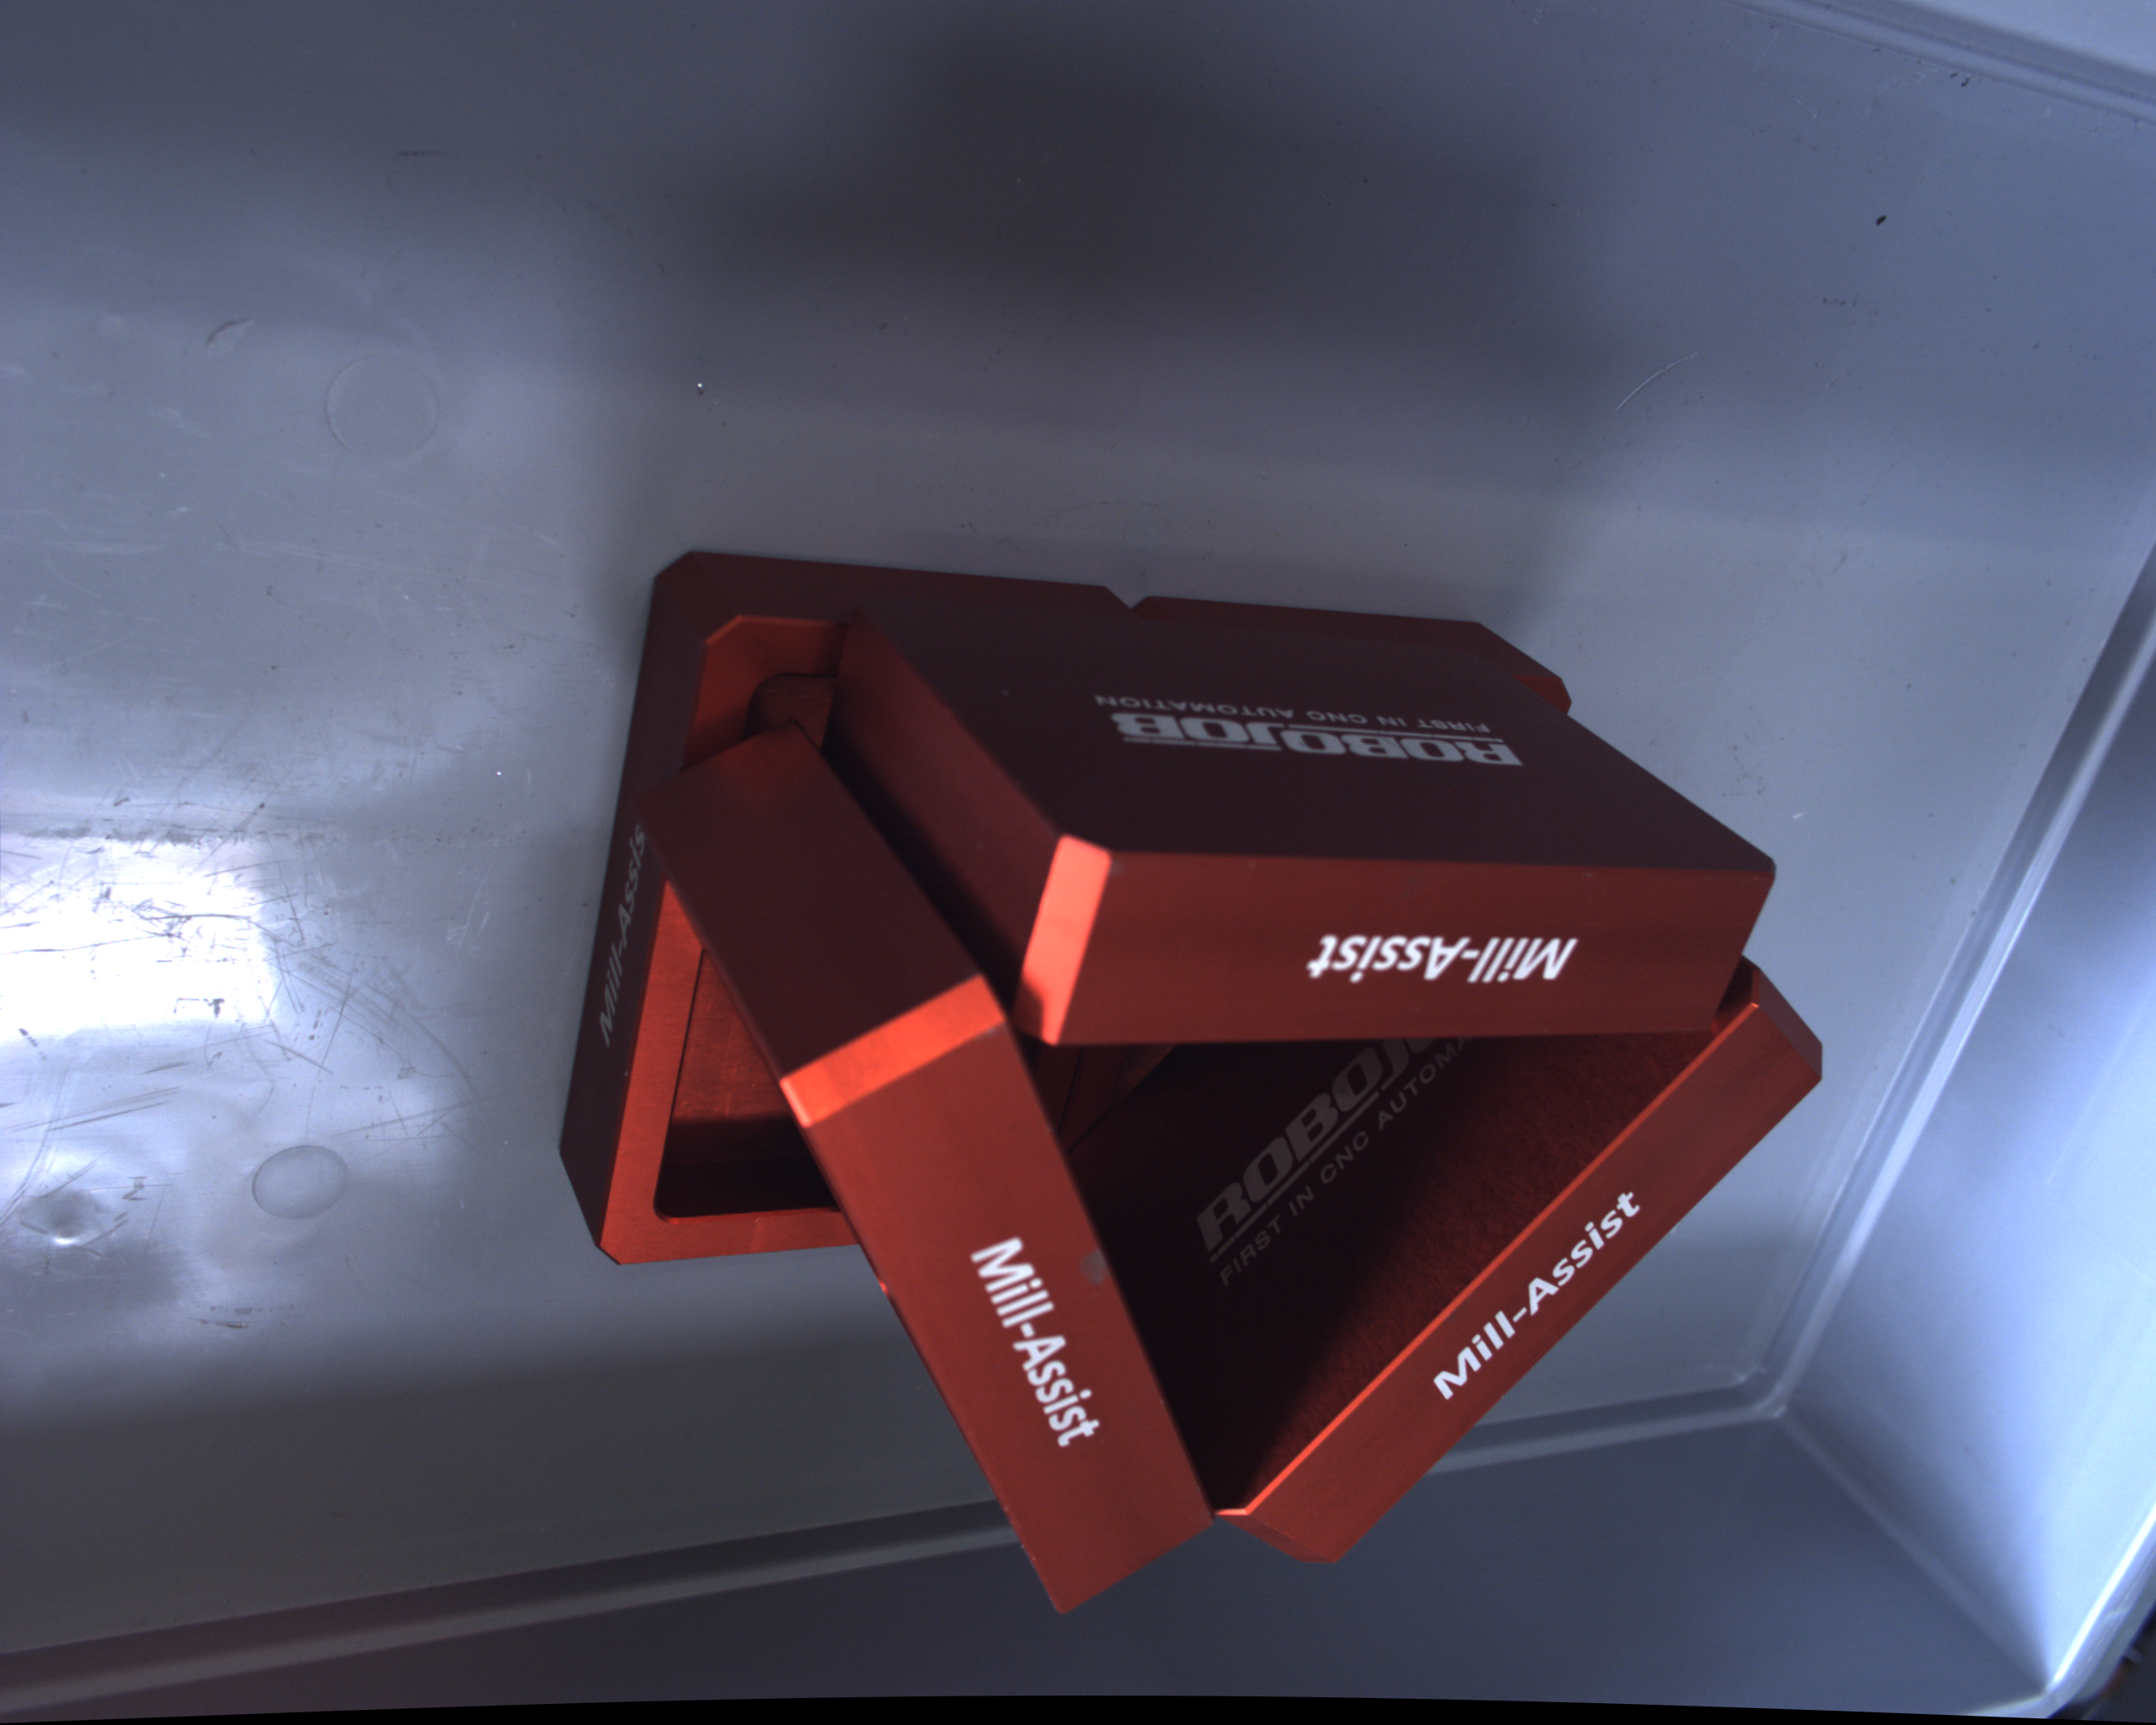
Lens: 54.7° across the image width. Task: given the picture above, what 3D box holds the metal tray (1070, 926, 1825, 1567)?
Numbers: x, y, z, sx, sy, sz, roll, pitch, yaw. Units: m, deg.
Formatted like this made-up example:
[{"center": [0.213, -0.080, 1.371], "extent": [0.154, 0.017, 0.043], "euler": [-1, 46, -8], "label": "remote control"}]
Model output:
[{"center": [0.060, 0.053, 0.390], "extent": [0.130, 0.090, 0.030], "euler": [-46, 129, 4], "label": "metal tray"}]

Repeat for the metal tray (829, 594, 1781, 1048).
[{"center": [0.035, -0.008, 0.339], "extent": [0.131, 0.090, 0.030], "euler": [2, 118, -29], "label": "metal tray"}]

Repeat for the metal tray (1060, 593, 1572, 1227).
[{"center": [0.040, 0.013, 0.433], "extent": [0.091, 0.030, 0.129], "euler": [1, 117, -29], "label": "metal tray"}]

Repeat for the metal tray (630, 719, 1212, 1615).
[{"center": [-0.025, 0.051, 0.343], "extent": [0.030, 0.090, 0.129], "euler": [-28, 128, -10], "label": "metal tray"}]

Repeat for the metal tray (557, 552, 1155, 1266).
[{"center": [-0.041, 0.011, 0.389], "extent": [0.091, 0.030, 0.129], "euler": [1, 117, -28], "label": "metal tray"}]
